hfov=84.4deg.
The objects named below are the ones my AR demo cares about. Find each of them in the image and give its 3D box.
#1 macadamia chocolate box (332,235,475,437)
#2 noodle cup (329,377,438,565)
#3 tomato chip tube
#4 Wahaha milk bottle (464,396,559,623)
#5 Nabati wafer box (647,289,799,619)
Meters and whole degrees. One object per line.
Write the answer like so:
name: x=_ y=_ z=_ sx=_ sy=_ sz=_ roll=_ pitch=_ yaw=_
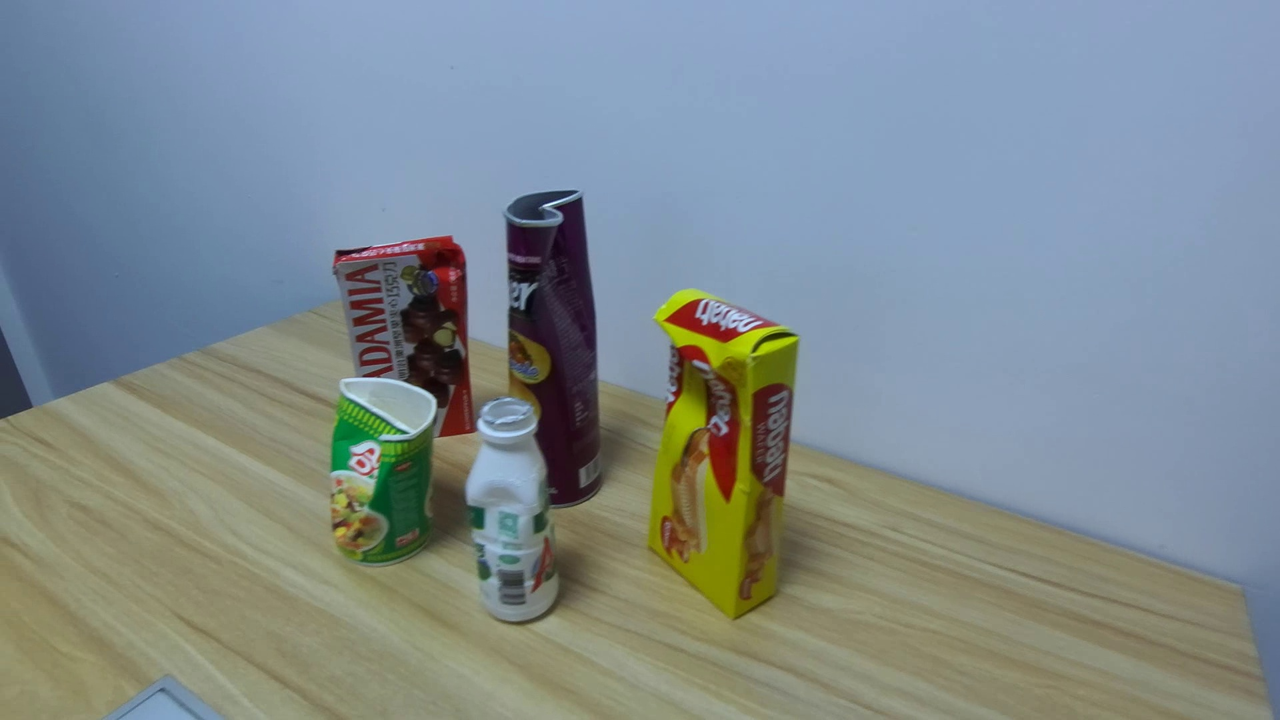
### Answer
macadamia chocolate box: x=-0.196 y=-0.014 z=0.608 sx=0.103 sy=0.187 sz=0.027 roll=-7 pitch=32 yaw=-16
noodle cup: x=-0.184 y=0.082 z=0.501 sx=0.075 sy=0.122 sz=0.082 roll=5 pitch=18 yaw=-12
tomato chip tube: x=-0.065 y=-0.003 z=0.544 sx=0.078 sy=0.235 sz=0.076 roll=-11 pitch=29 yaw=-25
Wahaha milk bottle: x=-0.080 y=0.094 z=0.445 sx=0.055 sy=0.149 sz=0.055 roll=-1 pitch=27 yaw=1
Nabati wafer box: x=0.047 y=0.059 z=0.460 sx=0.042 sy=0.204 sz=0.106 roll=-19 pitch=33 yaw=-33
